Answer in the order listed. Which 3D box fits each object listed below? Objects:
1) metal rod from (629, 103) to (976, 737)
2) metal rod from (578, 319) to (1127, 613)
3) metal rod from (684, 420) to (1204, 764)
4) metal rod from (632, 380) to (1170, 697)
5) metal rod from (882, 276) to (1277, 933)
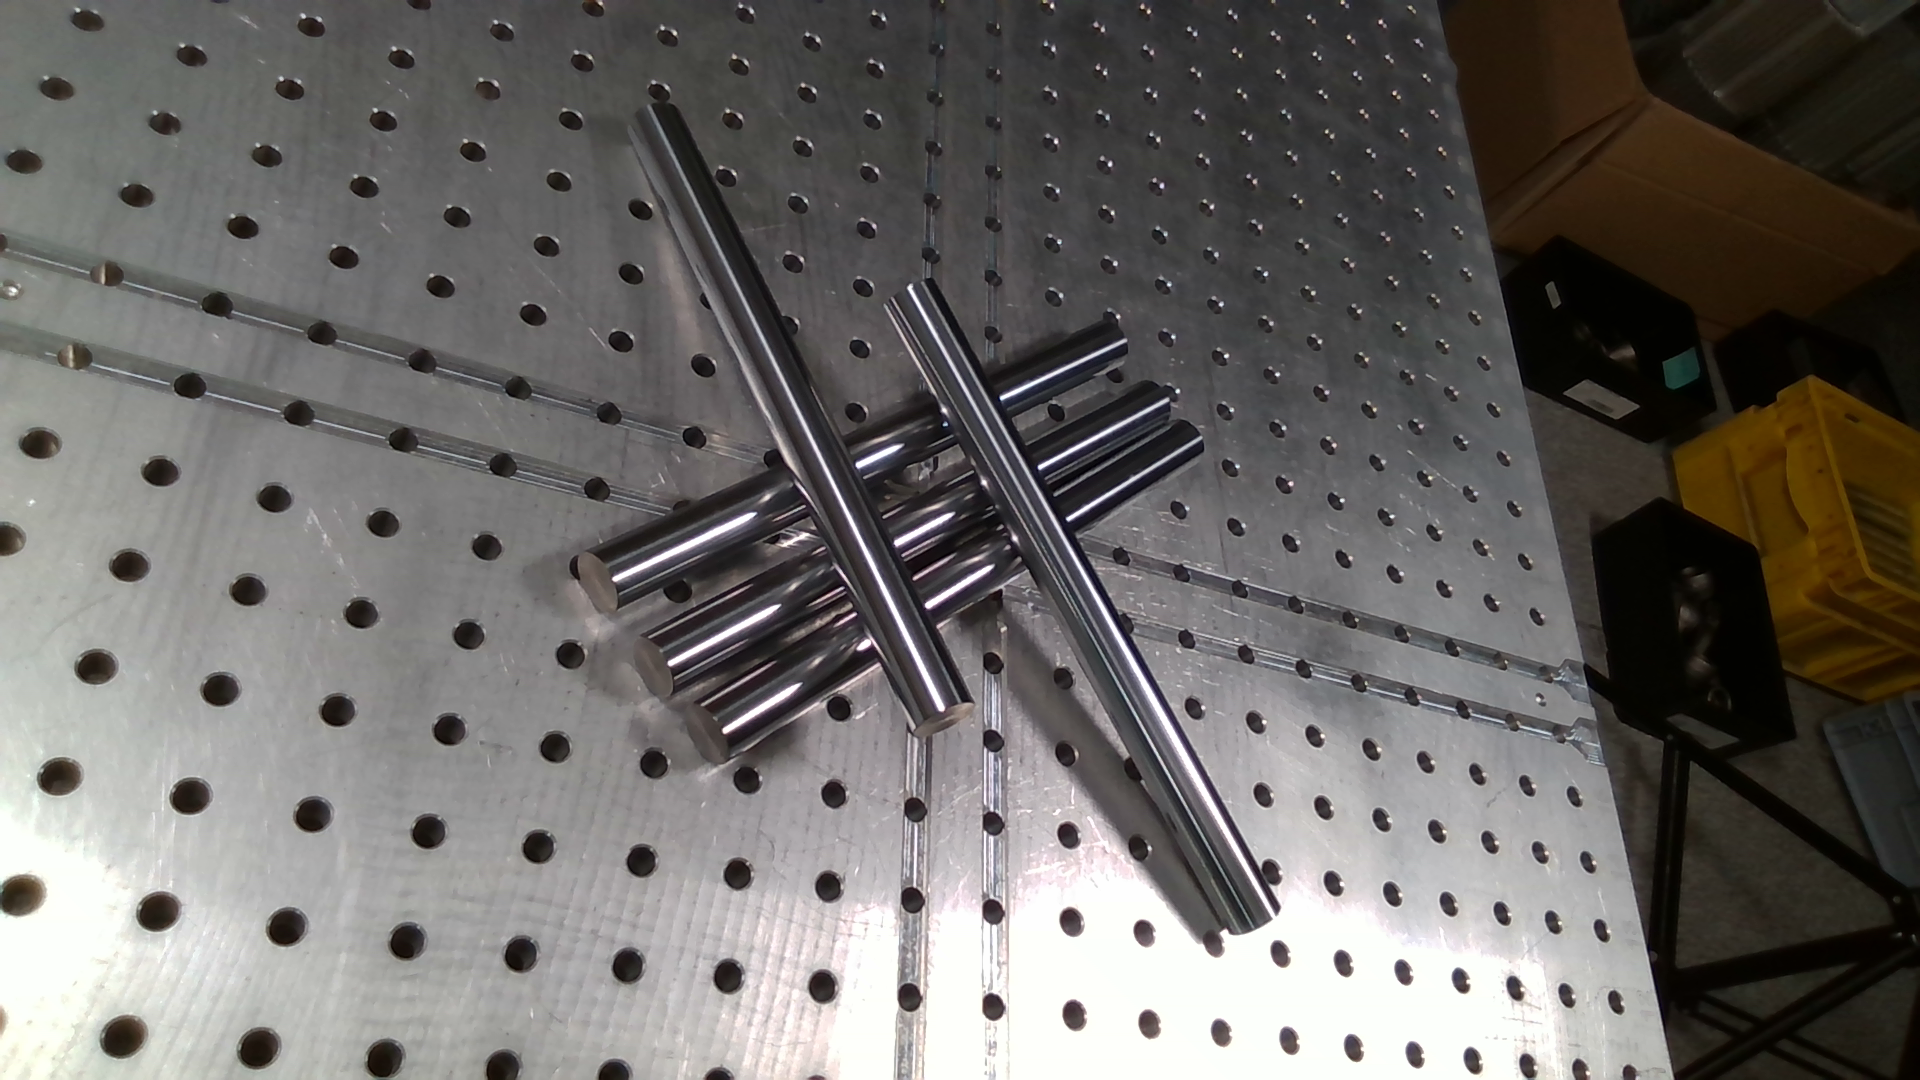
[{"bbox_3d":[-0.069,-0.059,0.551,0.025,0.025,0.299,-11,63,-35],"label":"metal rod"},{"bbox_3d":[-0.029,-0.041,0.593,0.300,0.025,0.025,-29,82,-39],"label":"metal rod"},{"bbox_3d":[0.010,0.011,0.589,0.300,0.025,0.025,-30,83,-39],"label":"metal rod"},{"bbox_3d":[-0.008,-0.011,0.590,0.300,0.025,0.025,-29,82,-39],"label":"metal rod"},{"bbox_3d":[0.050,0.027,0.579,0.025,0.025,0.300,-29,90,-39],"label":"metal rod"}]
